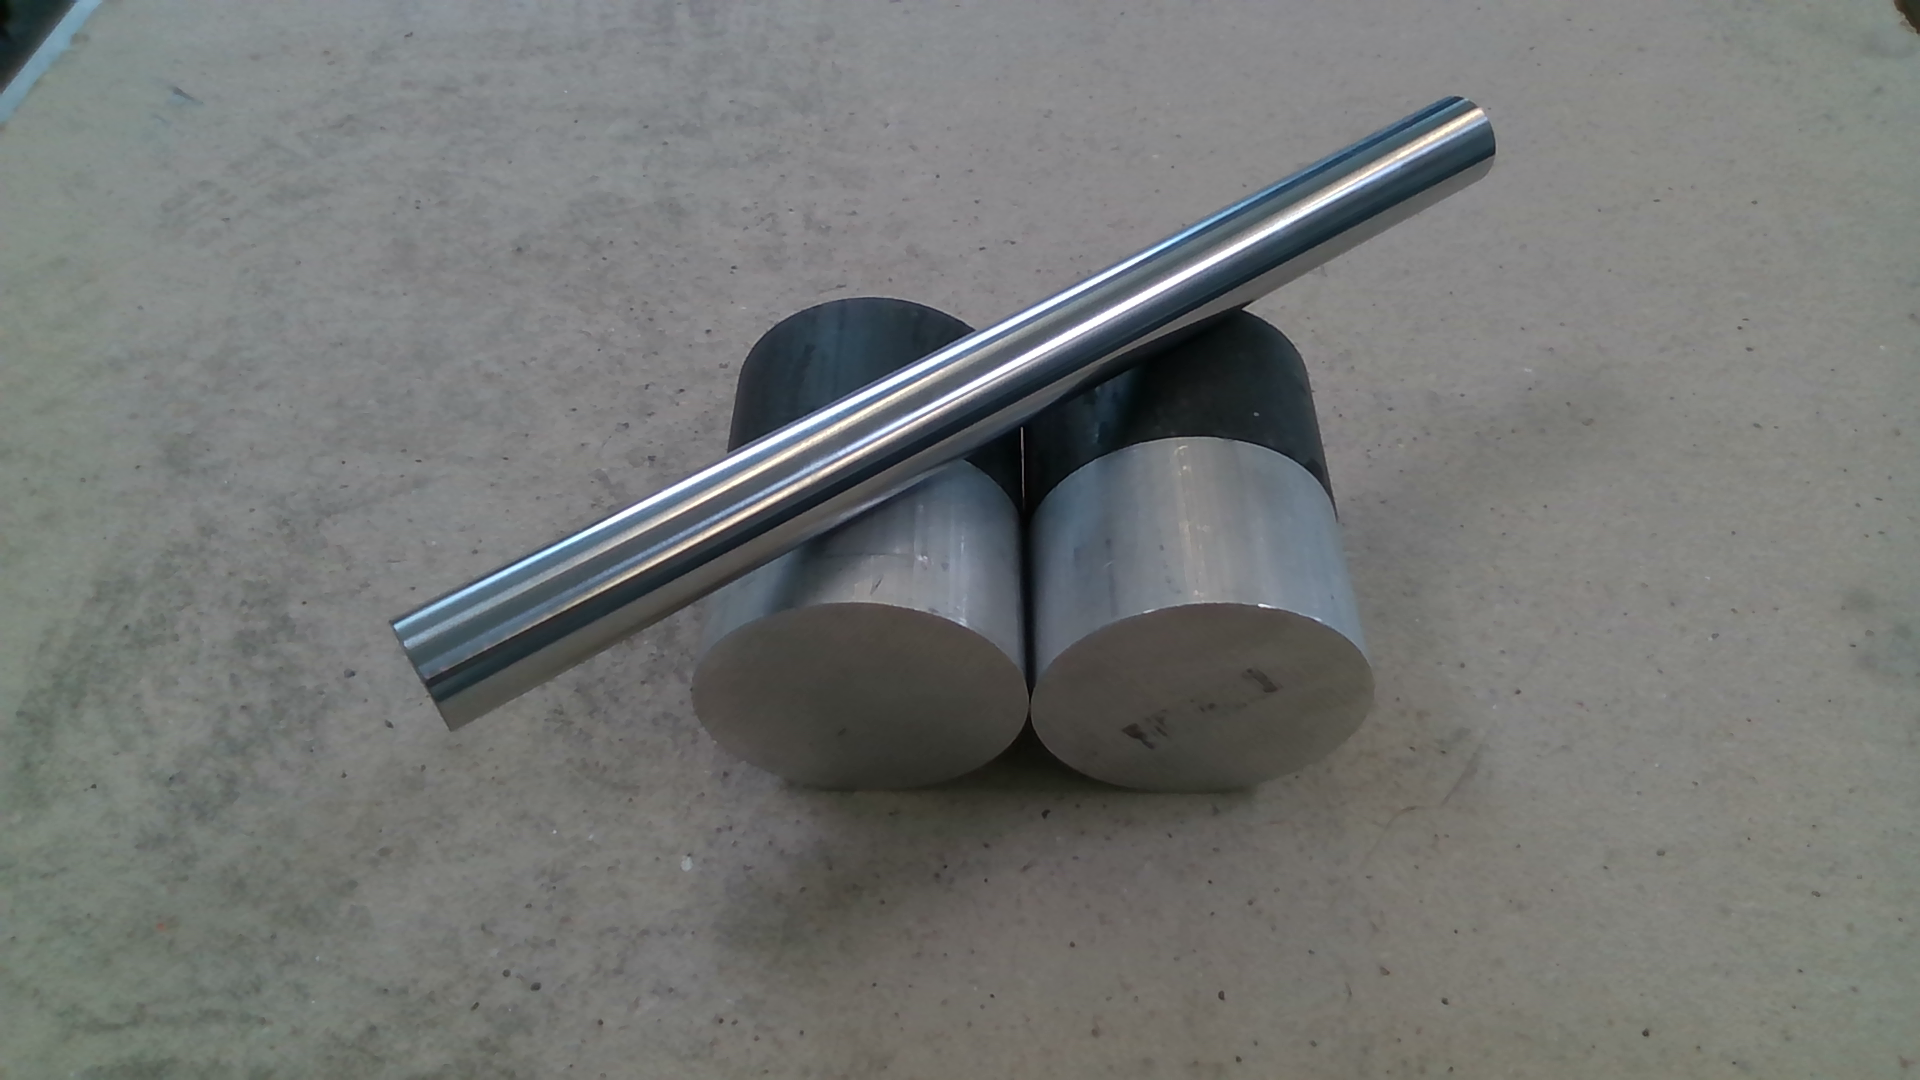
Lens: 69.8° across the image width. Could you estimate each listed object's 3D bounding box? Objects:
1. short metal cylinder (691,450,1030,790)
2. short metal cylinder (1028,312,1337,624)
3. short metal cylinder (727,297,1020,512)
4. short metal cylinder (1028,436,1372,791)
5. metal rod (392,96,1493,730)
[{"bbox_3d":[-0.023,0.020,0.342,0.080,0.080,0.050,0,50,0],"label":"short metal cylinder"},{"bbox_3d":[0.058,-0.018,0.373,0.080,0.080,0.050,0,50,0],"label":"short metal cylinder"},{"bbox_3d":[-0.023,-0.019,0.374,0.080,0.080,0.050,0,50,0],"label":"short metal cylinder"},{"bbox_3d":[0.057,0.020,0.342,0.080,0.080,0.050,0,50,0],"label":"short metal cylinder"},{"bbox_3d":[0.016,-0.042,0.325,0.300,0.025,0.025,-29,56,-22],"label":"metal rod"}]
